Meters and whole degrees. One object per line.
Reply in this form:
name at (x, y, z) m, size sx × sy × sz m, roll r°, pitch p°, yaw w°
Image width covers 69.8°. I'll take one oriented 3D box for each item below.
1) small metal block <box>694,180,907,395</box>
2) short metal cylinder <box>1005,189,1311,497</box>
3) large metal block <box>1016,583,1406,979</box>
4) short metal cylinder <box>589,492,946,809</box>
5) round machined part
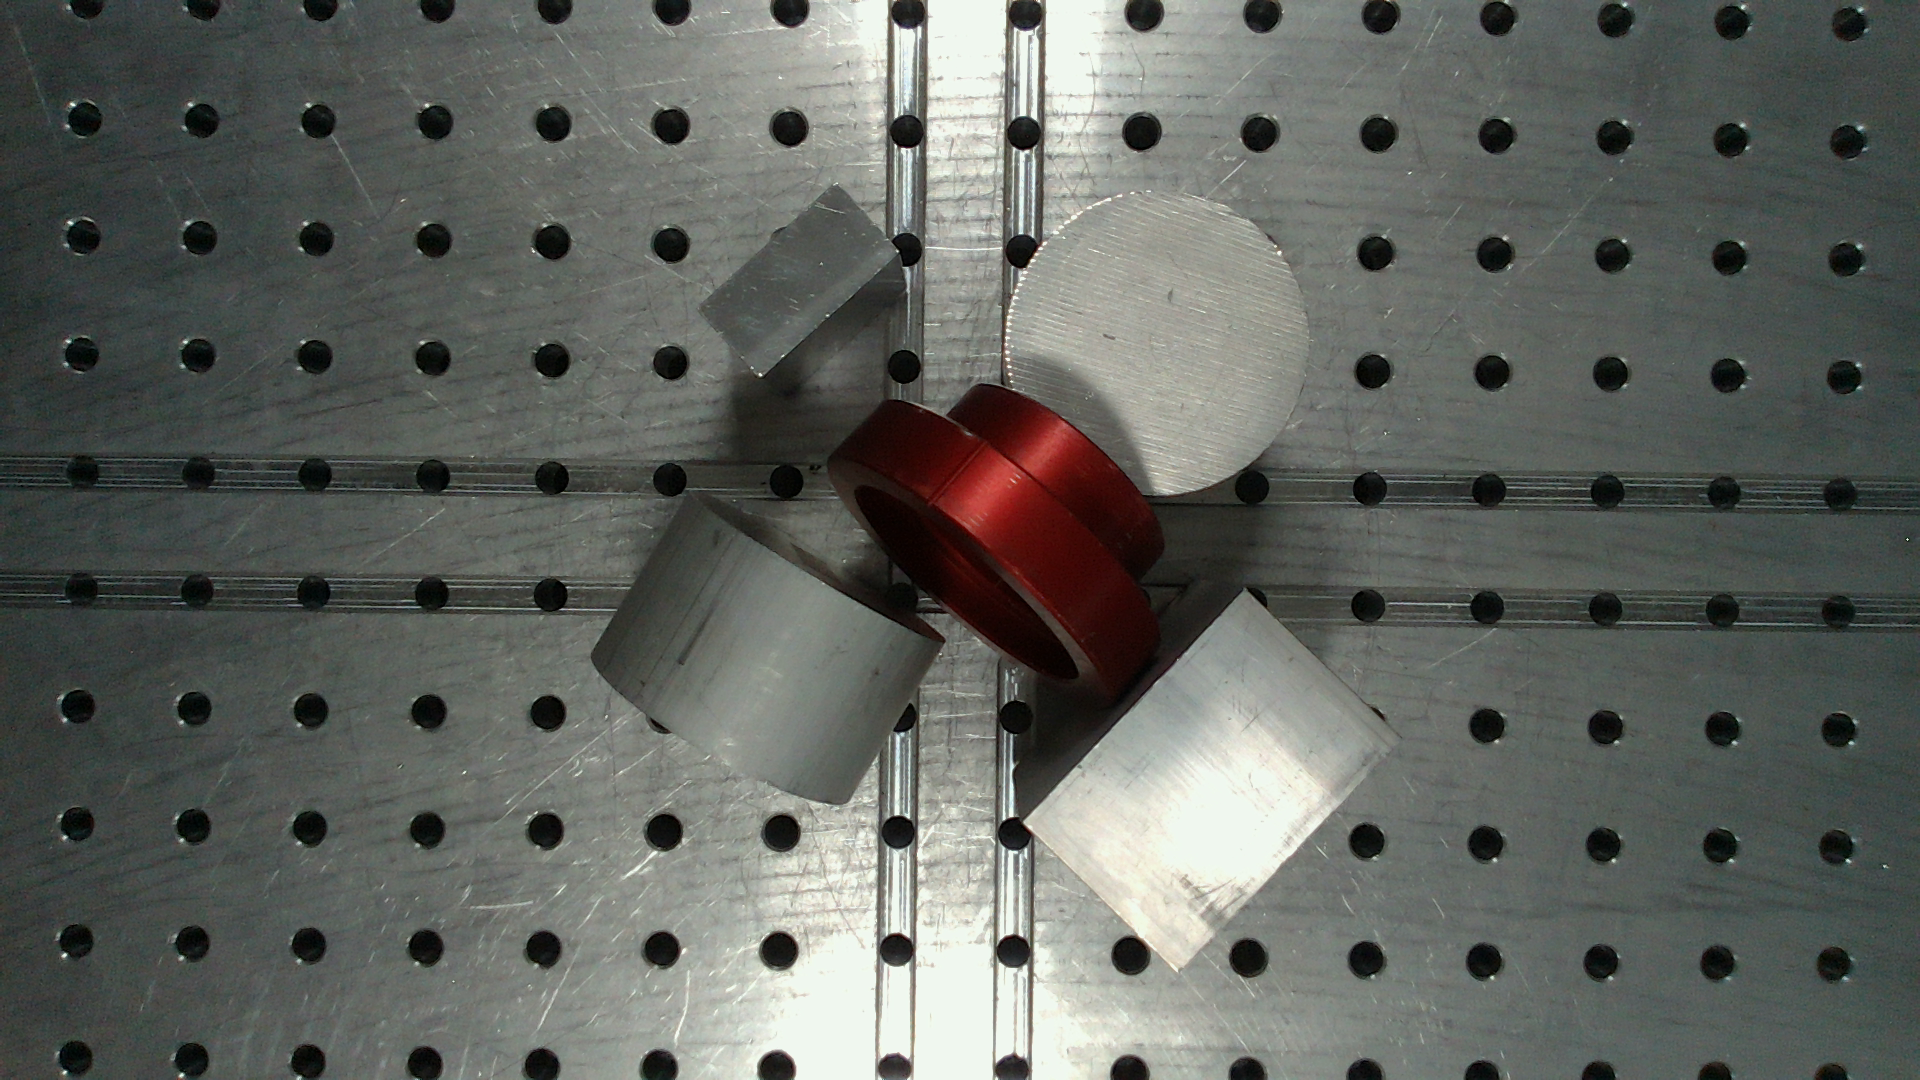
small metal block at (-0.042, -0.068, 0.384) m, size 0.050 × 0.050 × 0.025 m, roll -42°, pitch 90°, yaw 0°
short metal cylinder at (0.052, -0.052, 0.385) m, size 0.080 × 0.050 × 0.080 m, roll 0°, pitch 90°, yaw 0°
large metal block at (0.062, 0.059, 0.371) m, size 0.050 × 0.080 × 0.080 m, roll 43°, pitch 90°, yaw 0°
short metal cylinder at (-0.051, 0.029, 0.370) m, size 0.080 × 0.080 × 0.050 m, roll 31°, pitch 90°, yaw 0°
round machined part at (0.015, -0.003, 0.362) m, size 0.098 × 0.098 × 0.042 m, roll 41°, pitch 78°, yaw 0°
